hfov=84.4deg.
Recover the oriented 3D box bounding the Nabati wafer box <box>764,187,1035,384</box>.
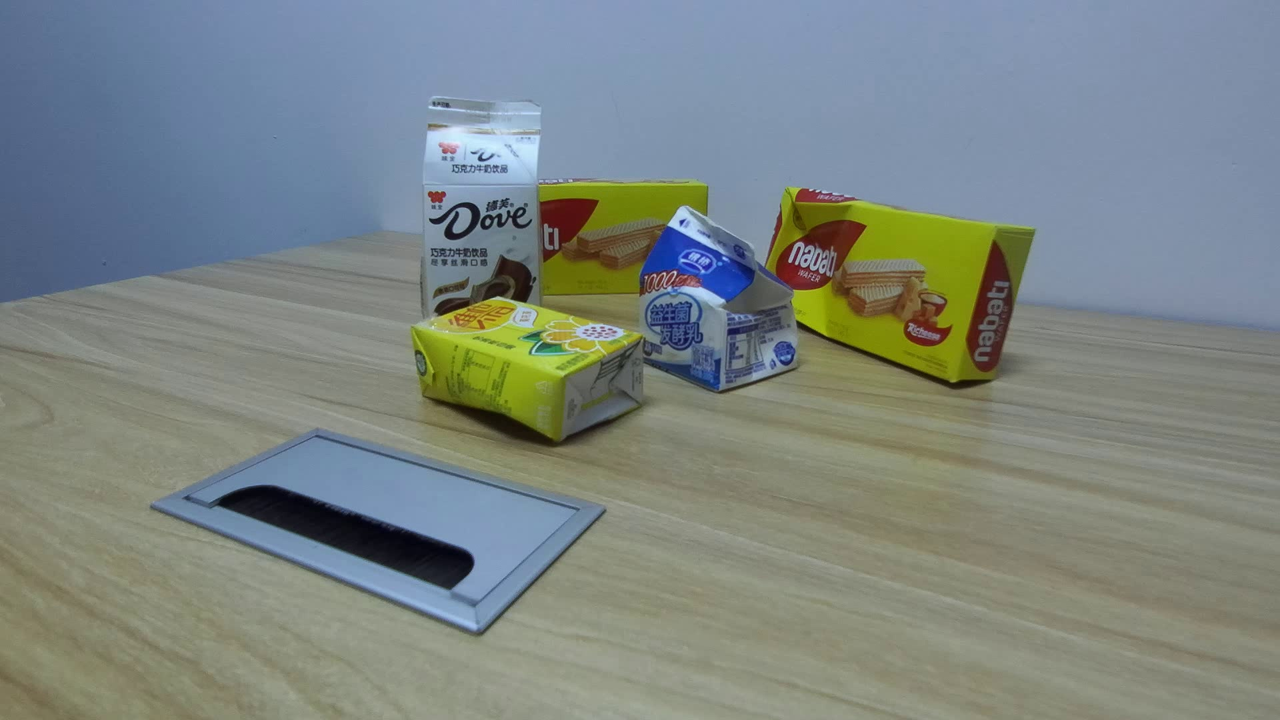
[{"bbox_3d":[0.153,-0.059,0.480,0.042,0.096,0.202,1,18,-31],"label":"Nabati wafer box"}]

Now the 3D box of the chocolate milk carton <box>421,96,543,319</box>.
[{"bbox_3d":[-0.104,-0.090,0.461,0.084,0.155,0.073,-2,22,-9],"label":"chocolate milk carton"}]

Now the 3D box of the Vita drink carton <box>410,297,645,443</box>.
[{"bbox_3d":[-0.062,0.004,0.372,0.108,0.043,0.077,16,28,33],"label":"Vita drink carton"}]

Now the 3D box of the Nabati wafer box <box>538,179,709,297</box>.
[{"bbox_3d":[-0.040,-0.100,0.602,0.203,0.093,0.042,0,6,3],"label":"Nabati wafer box"}]

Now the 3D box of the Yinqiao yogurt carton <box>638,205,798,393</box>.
[{"bbox_3d":[0.046,-0.042,0.424,0.077,0.093,0.082,-15,25,-37],"label":"Yinqiao yogurt carton"}]
